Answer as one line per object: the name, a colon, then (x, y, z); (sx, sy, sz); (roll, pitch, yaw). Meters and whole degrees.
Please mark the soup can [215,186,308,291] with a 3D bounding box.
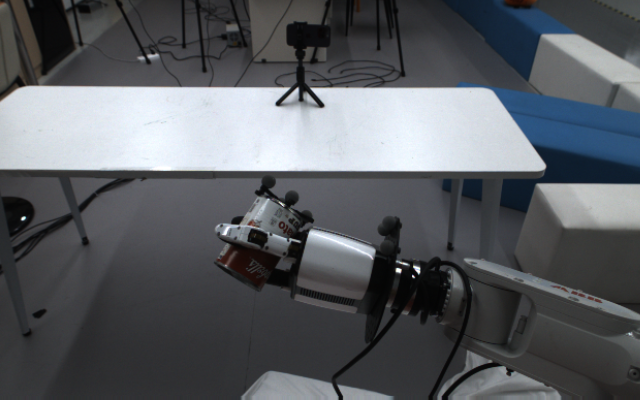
soup can: (-0.073, 0.053, 0.598); (0.067, 0.067, 0.101); (23, 71, 27)
